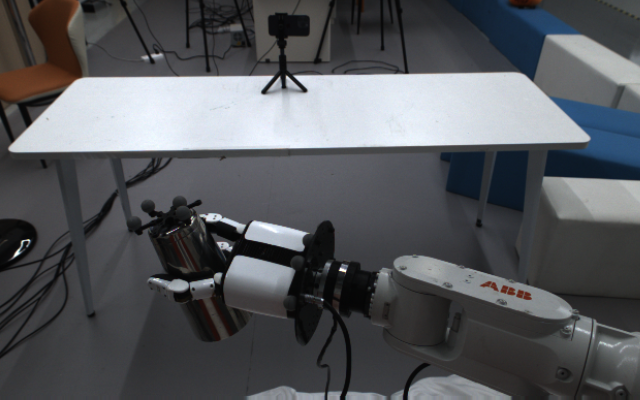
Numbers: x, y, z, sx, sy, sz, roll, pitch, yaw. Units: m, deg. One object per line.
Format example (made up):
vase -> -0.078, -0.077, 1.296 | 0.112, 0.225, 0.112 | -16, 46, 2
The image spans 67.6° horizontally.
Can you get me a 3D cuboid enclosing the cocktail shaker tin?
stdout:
cocktail shaker tin -> -0.163, 0.099, 0.649 | 0.093, 0.170, 0.093 | -15, 27, 8
